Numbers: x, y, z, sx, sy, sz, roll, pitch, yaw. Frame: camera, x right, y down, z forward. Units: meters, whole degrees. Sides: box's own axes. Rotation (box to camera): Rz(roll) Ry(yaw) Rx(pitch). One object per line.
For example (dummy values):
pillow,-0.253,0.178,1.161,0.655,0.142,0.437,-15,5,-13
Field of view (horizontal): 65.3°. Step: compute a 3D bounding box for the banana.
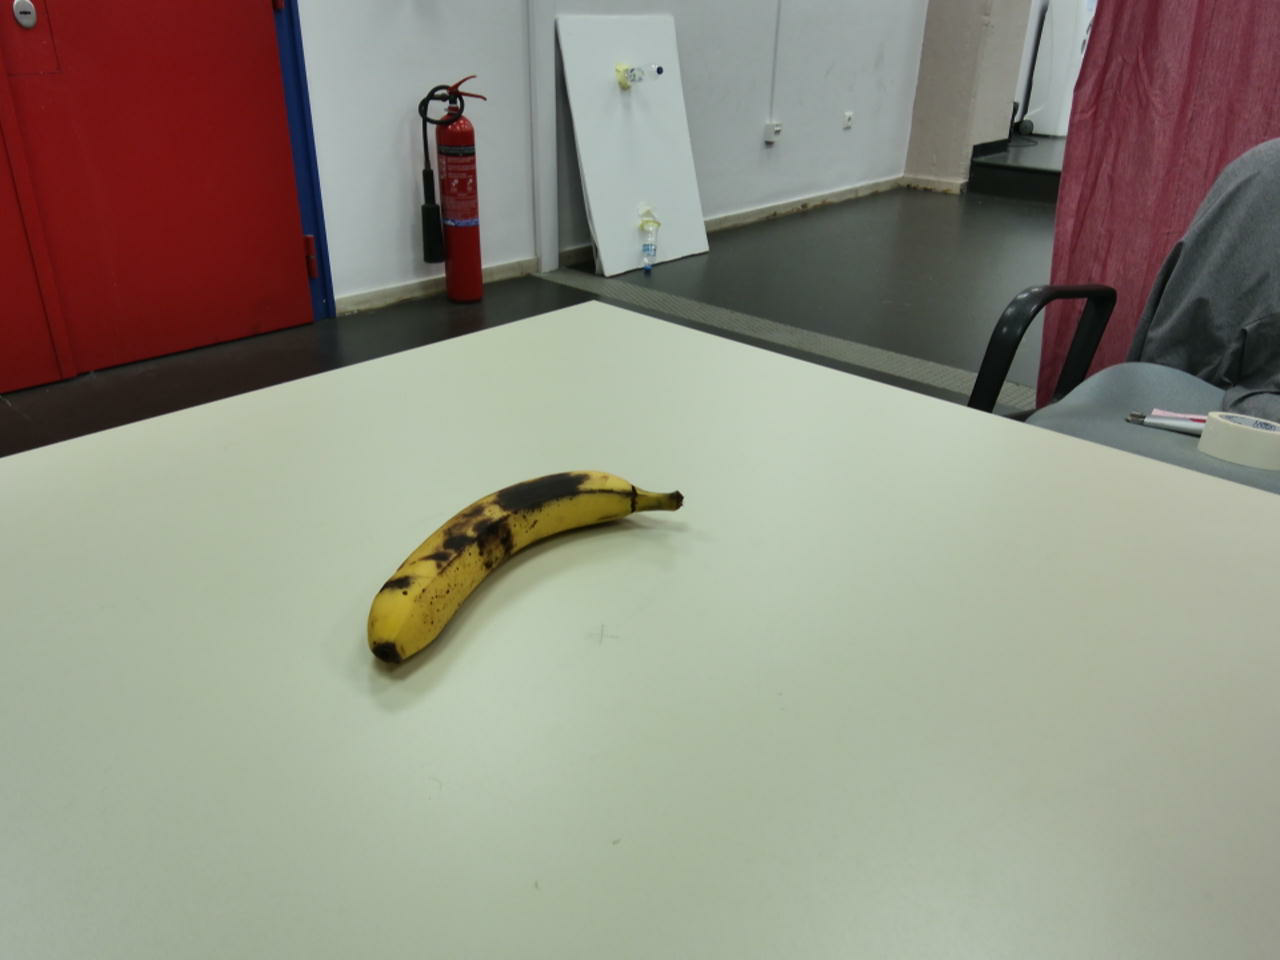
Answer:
banana,-0.075,0.036,0.569,0.084,0.037,0.222,22,32,37
